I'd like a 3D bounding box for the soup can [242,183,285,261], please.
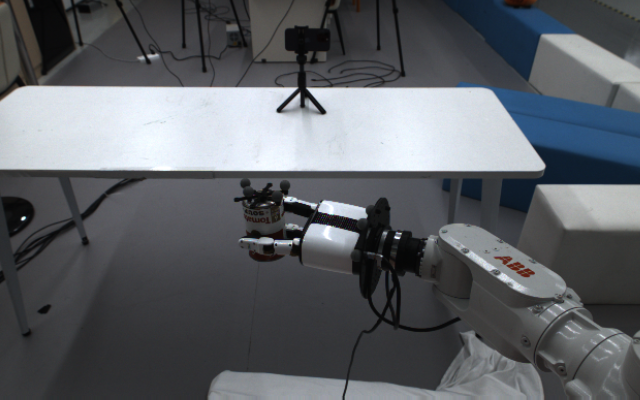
[{"bbox_3d":[-0.089,0.043,0.802,0.067,0.101,0.067,-3,26,2],"label":"soup can"}]
